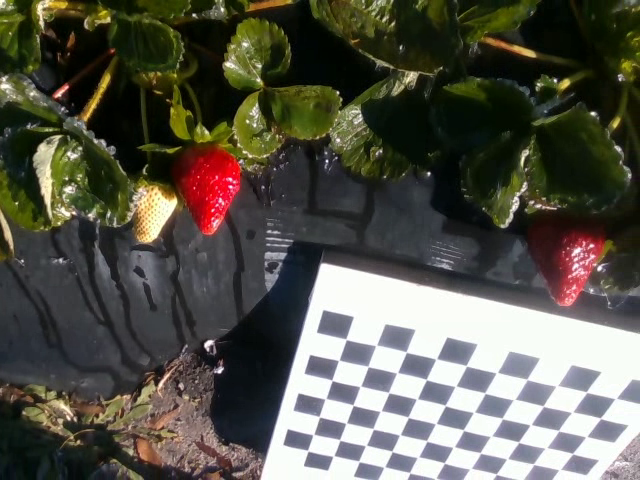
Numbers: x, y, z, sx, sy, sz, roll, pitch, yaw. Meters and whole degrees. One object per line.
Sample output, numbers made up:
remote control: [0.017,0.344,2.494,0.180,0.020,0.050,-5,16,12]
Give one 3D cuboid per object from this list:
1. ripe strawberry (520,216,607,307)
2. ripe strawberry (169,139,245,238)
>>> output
ripe strawberry: [0.155,0.016,0.379,0.048,0.061,0.044,7,3,1]
ripe strawberry: [-0.069,-0.028,0.380,0.042,0.061,0.046,1,-7,5]
